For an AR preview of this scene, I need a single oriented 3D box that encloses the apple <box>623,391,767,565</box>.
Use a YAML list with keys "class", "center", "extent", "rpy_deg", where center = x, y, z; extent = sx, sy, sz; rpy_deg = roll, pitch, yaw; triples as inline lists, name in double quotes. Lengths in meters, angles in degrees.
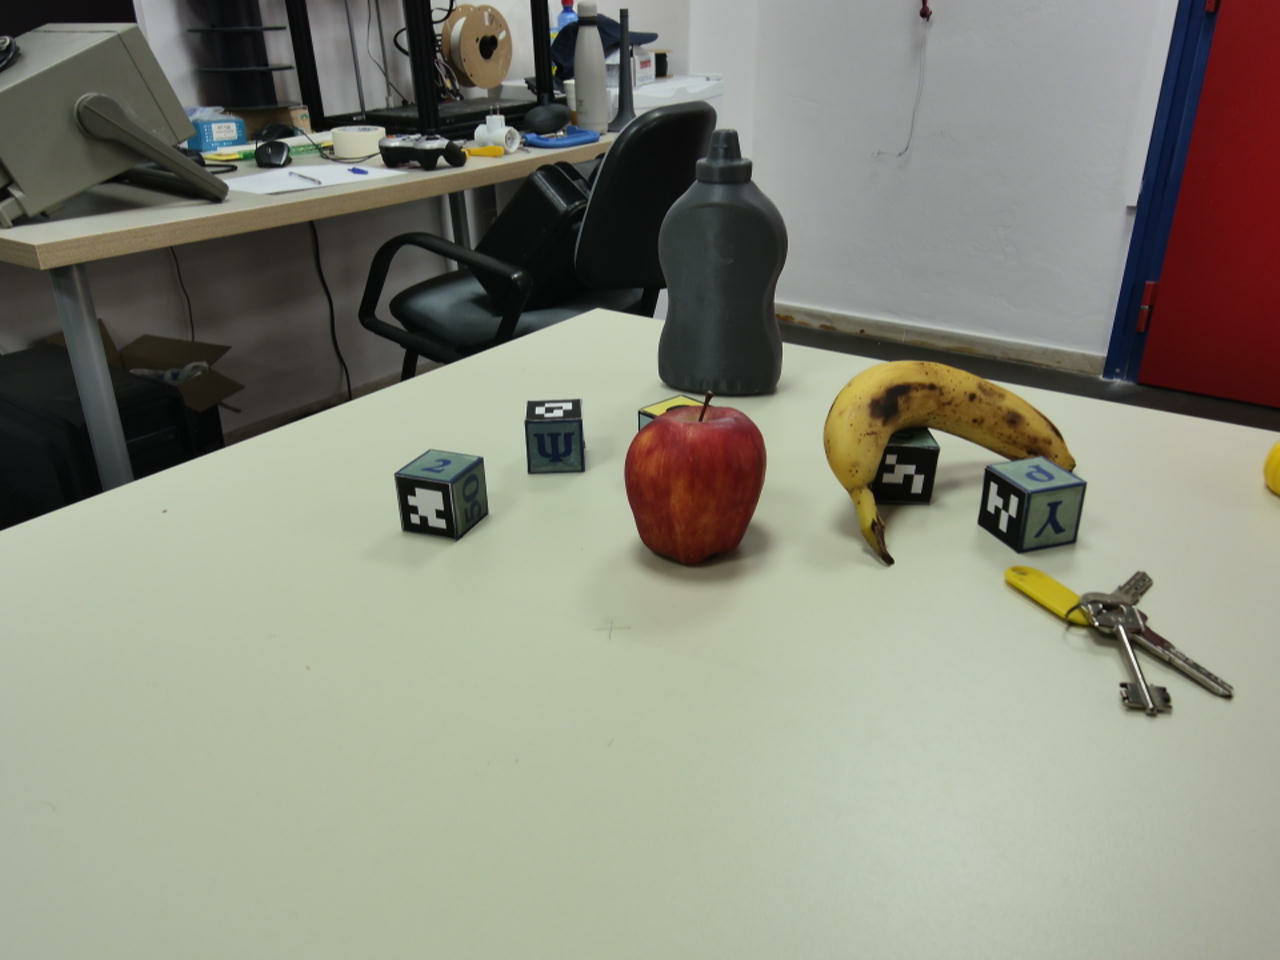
- class: "apple"
  center: [0.031, -0.005, 0.542]
  extent: [0.083, 0.090, 0.083]
  rpy_deg: [0, 24, 0]
